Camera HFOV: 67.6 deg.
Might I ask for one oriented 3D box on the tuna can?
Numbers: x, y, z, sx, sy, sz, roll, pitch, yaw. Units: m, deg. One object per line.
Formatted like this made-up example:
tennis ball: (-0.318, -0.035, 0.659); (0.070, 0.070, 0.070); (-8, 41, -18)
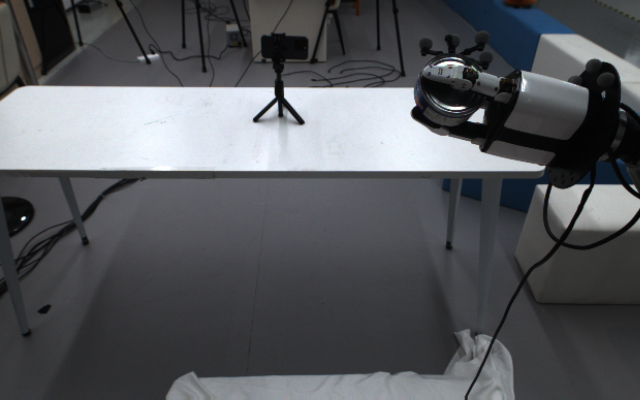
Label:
tuna can: (0.163, -0.142, 0.606); (0.085, 0.034, 0.085); (1, 72, -3)
